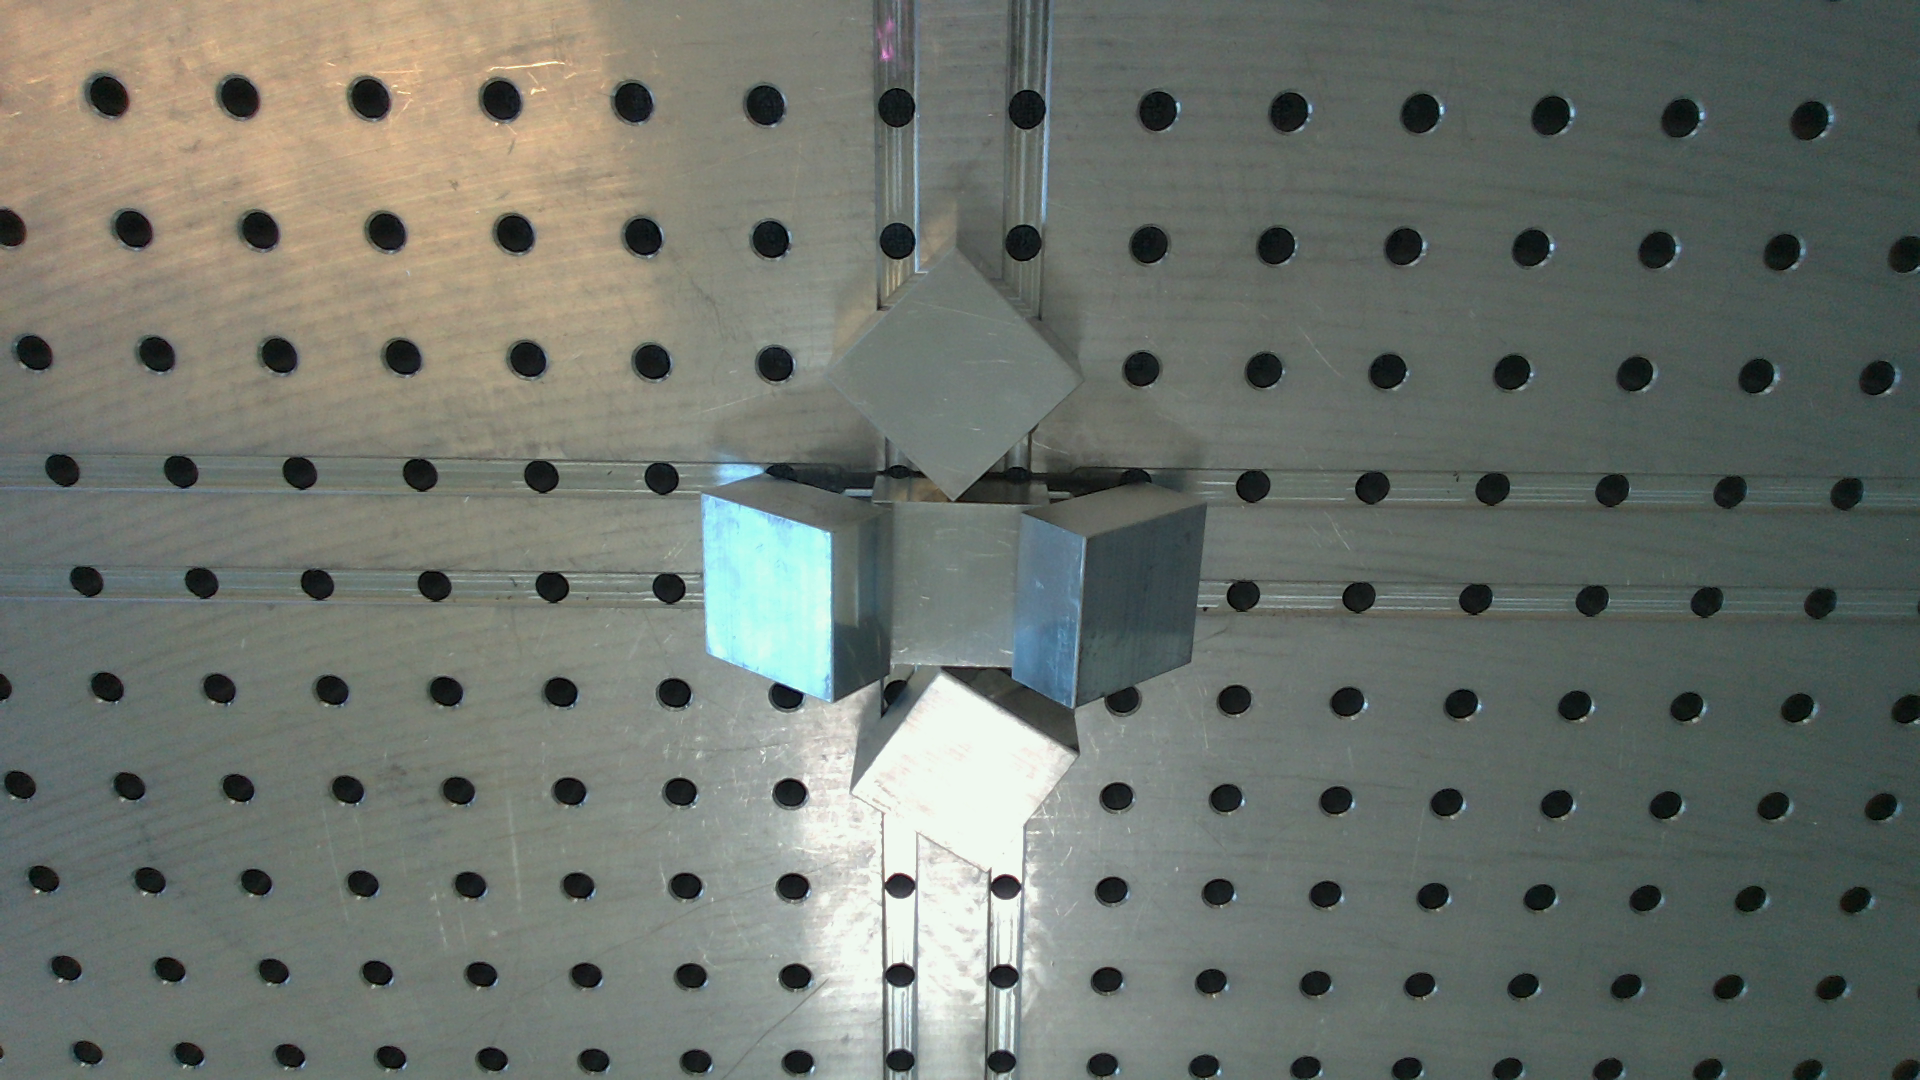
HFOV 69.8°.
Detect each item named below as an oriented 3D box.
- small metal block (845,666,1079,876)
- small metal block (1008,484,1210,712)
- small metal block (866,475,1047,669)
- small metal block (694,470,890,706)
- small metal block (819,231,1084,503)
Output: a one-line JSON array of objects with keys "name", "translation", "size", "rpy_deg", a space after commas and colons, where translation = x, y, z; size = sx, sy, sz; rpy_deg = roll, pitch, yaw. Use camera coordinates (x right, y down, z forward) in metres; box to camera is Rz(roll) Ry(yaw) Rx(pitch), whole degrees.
[{"name": "small metal block", "translation": [0.001, 0.066, 0.420], "size": [0.050, 0.025, 0.050], "rpy_deg": [33, 107, -10]}, {"name": "small metal block", "translation": [0.042, 0.015, 0.387], "size": [0.050, 0.025, 0.050], "rpy_deg": [-14, 116, -39]}, {"name": "small metal block", "translation": [-0.001, 0.009, 0.399], "size": [0.050, 0.025, 0.050], "rpy_deg": [1, 109, -1]}, {"name": "small metal block", "translation": [-0.047, 0.012, 0.387], "size": [0.050, 0.025, 0.050], "rpy_deg": [17, 115, 33]}, {"name": "small metal block", "translation": [-0.002, -0.048, 0.379], "size": [0.050, 0.025, 0.050], "rpy_deg": [-42, 104, 13]}]
